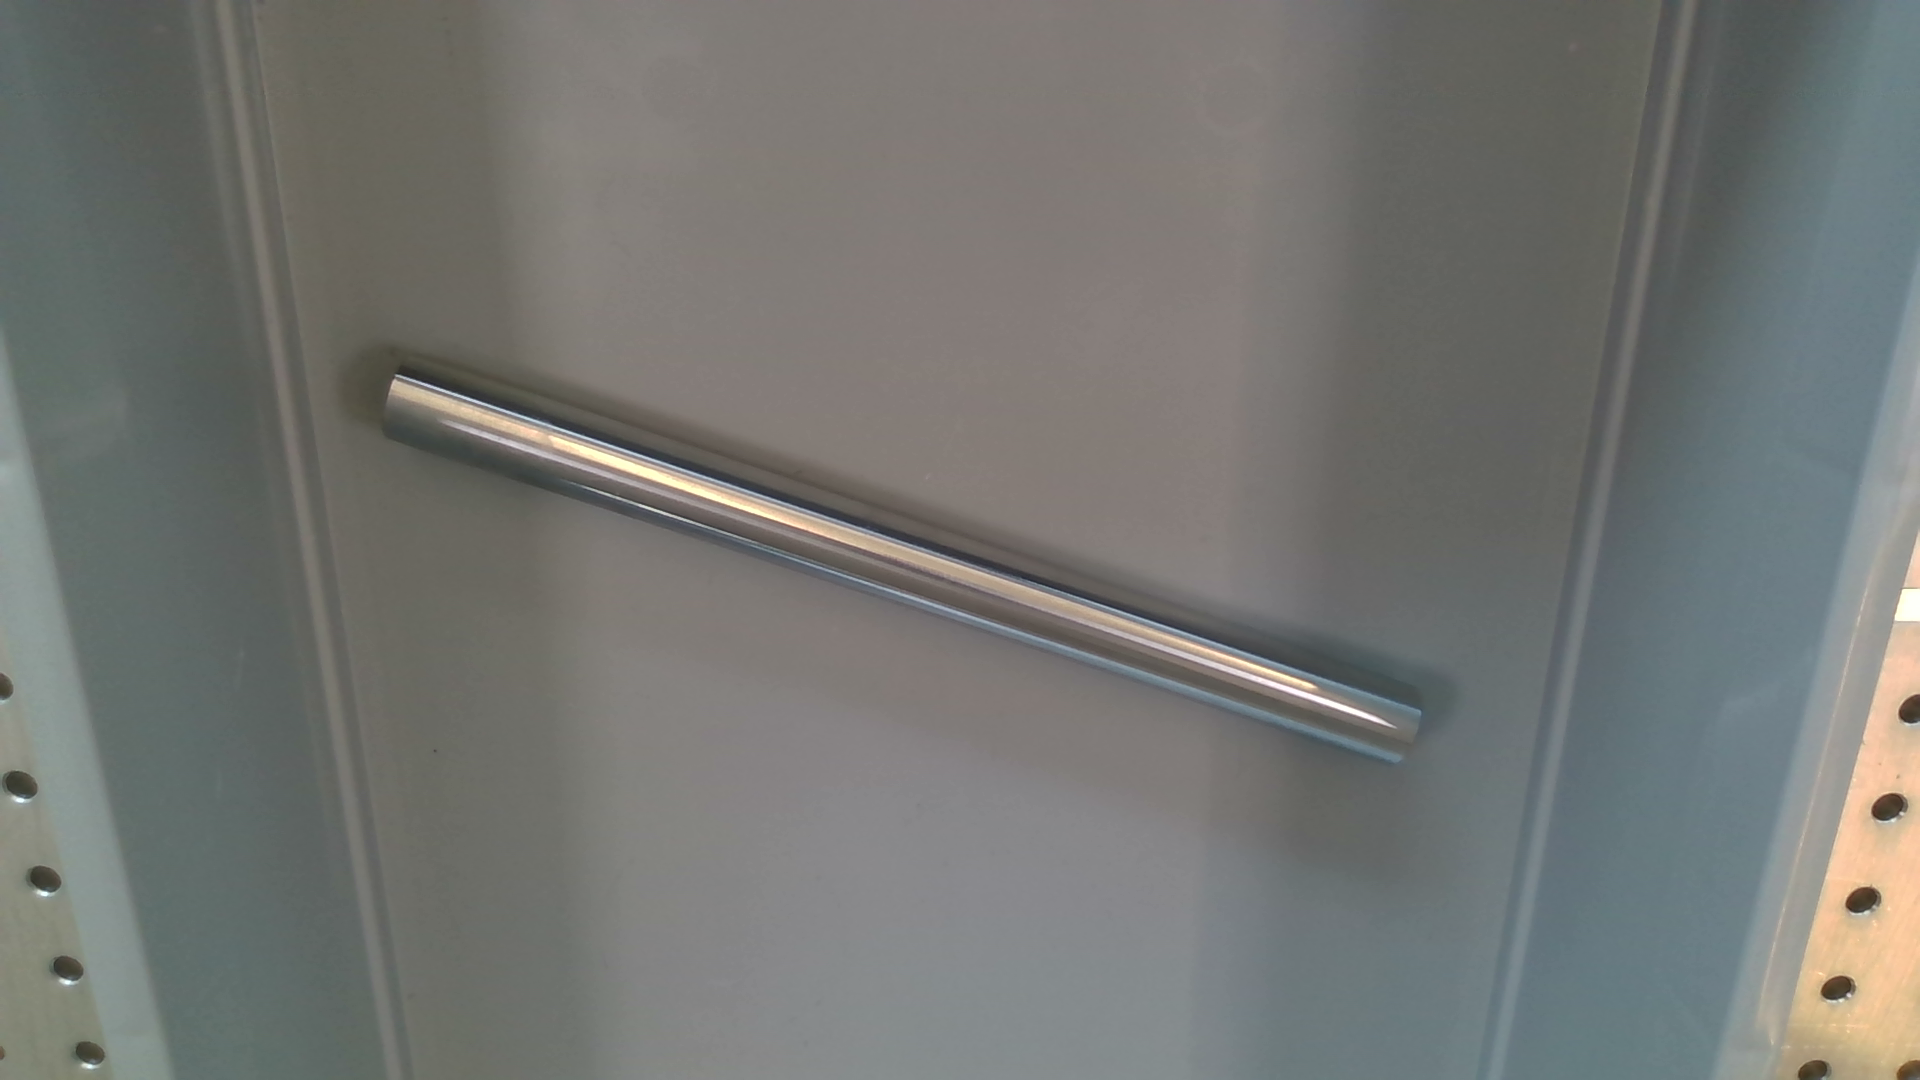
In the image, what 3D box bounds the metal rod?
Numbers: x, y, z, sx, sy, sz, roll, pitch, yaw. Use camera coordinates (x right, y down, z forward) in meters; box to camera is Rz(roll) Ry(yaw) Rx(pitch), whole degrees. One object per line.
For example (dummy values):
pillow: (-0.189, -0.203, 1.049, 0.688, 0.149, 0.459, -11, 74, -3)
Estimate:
metal rod: (-0.011, 0.007, 0.393, 0.300, 0.025, 0.025, 18, 109, -7)
